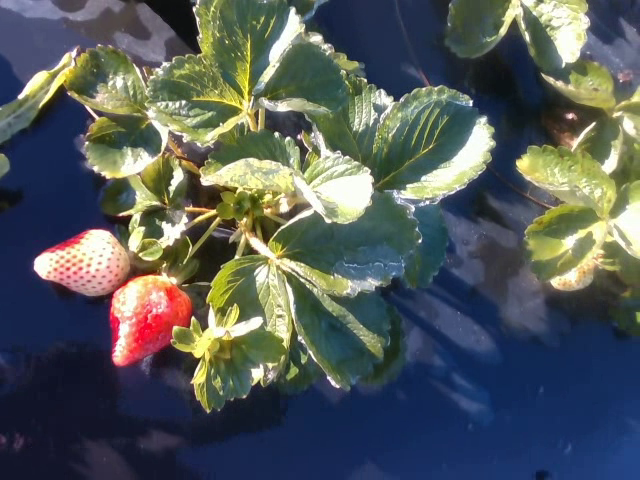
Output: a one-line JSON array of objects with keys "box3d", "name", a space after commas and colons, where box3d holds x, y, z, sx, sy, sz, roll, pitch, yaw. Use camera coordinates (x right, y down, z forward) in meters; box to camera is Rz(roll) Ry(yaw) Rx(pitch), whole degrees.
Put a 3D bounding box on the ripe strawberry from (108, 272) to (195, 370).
[{"box3d": [-0.081, 0.040, 0.278, 0.040, 0.038, 0.056, 6, 28, 15], "name": "ripe strawberry"}]
